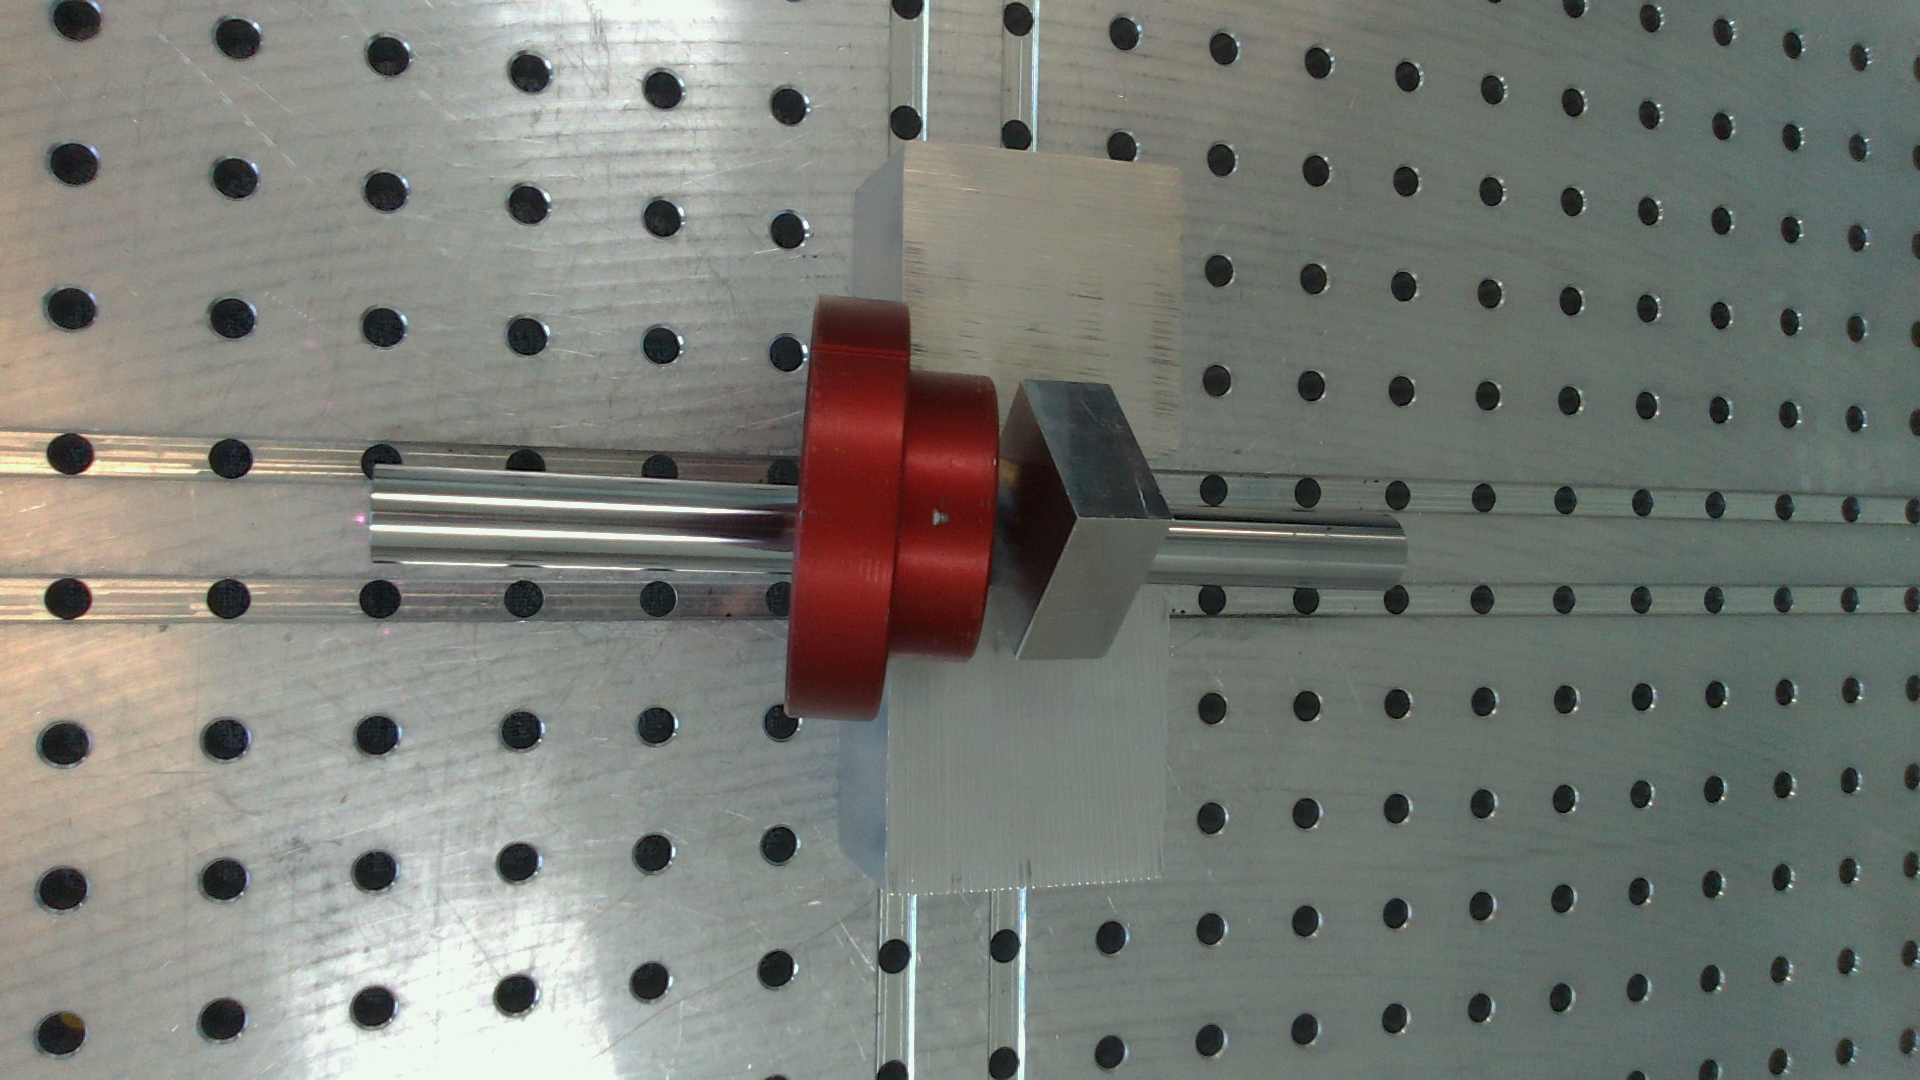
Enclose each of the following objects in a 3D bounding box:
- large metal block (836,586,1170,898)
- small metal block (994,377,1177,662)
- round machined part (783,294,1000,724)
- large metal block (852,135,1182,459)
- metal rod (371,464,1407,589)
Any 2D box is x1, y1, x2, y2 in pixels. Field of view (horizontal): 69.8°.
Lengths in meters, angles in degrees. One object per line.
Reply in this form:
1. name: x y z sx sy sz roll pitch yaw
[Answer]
1. large metal block: 0.011 0.052 0.387 0.080 0.050 0.080 1 90 -20
2. small metal block: 0.026 -0.005 0.346 0.025 0.050 0.050 1 46 -20
3. round machined part: -0.016 -0.006 0.321 0.042 0.098 0.098 4 89 -5
4. large metal block: 0.015 -0.063 0.388 0.080 0.050 0.080 1 90 -20
5. metal rod: -0.005 -0.001 0.394 0.301 0.025 0.025 2 89 -20
